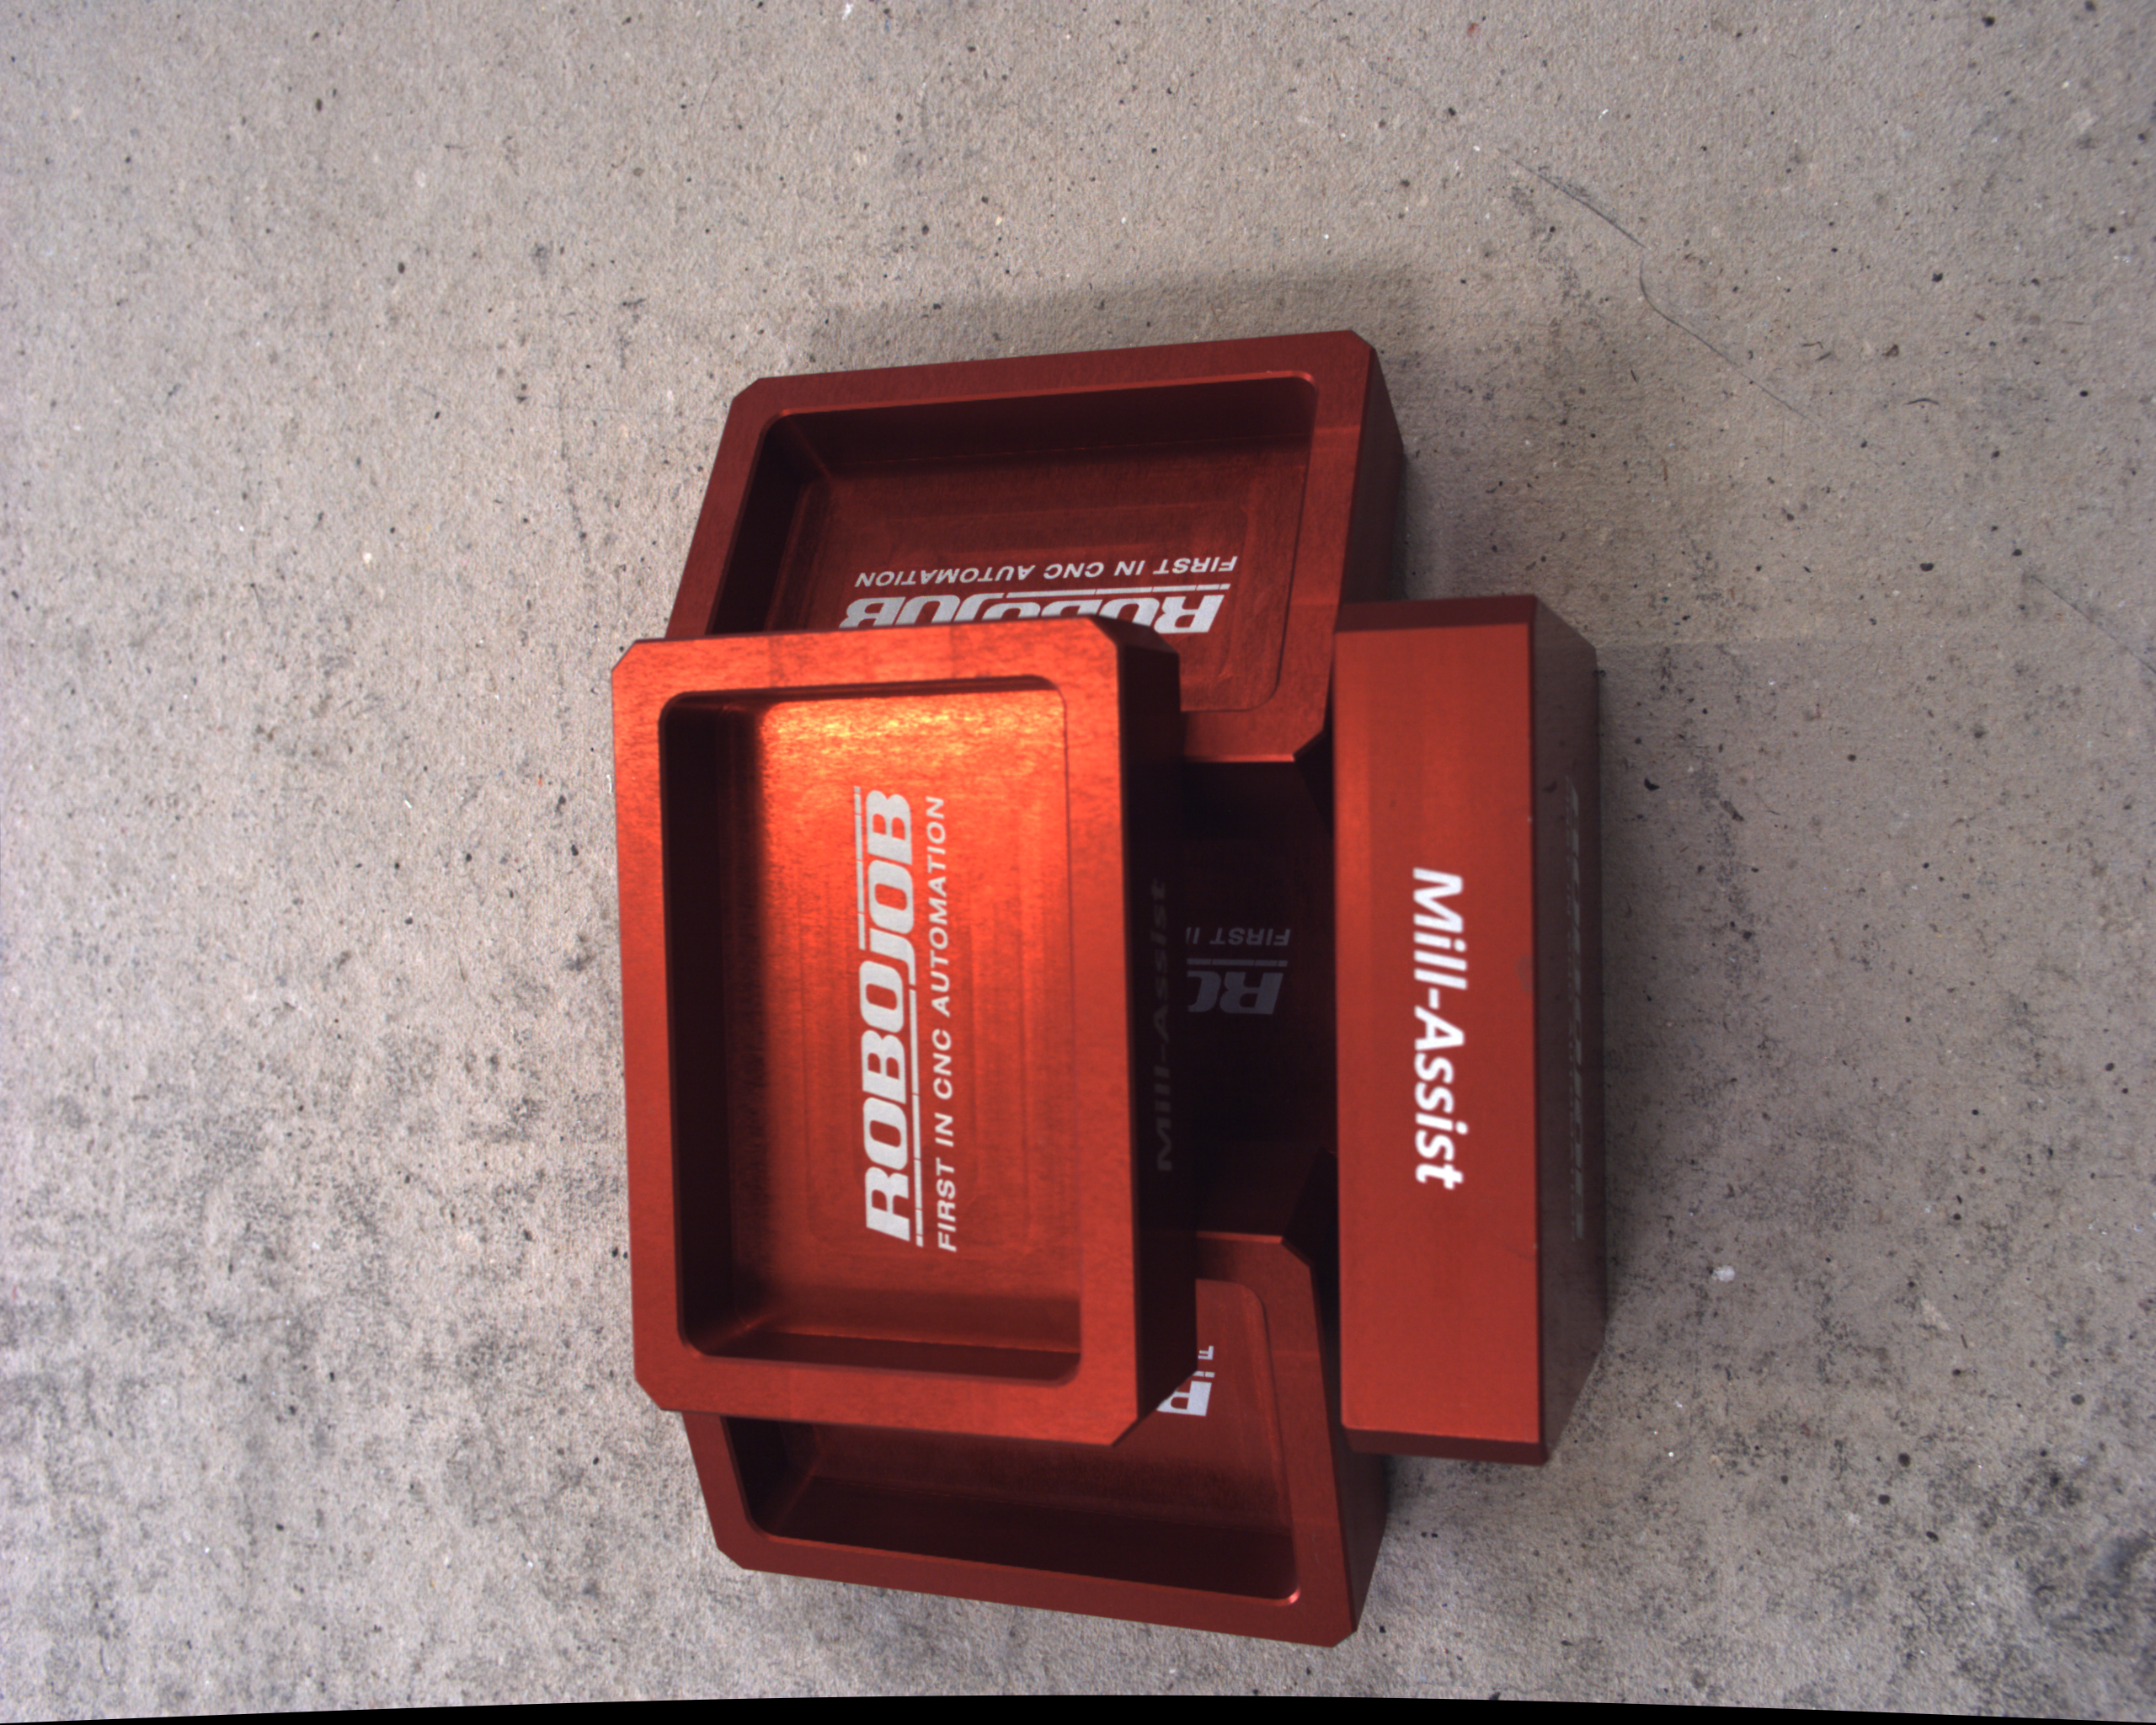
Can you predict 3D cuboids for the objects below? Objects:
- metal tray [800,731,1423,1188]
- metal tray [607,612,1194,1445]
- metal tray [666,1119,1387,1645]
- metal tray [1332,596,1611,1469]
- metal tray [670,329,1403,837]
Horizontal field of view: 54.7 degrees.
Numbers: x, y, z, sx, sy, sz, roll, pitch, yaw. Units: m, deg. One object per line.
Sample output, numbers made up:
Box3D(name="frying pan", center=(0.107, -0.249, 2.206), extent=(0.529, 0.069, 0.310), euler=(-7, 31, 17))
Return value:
Box3D(name="metal tray", center=(0.001, 0.019, 0.405), extent=(0.130, 0.030, 0.089), euler=(-1, 91, 20))
Box3D(name="metal tray", center=(-0.030, 0.026, 0.349), extent=(0.090, 0.030, 0.129), euler=(-1, 92, 20))
Box3D(name="metal tray", center=(-0.012, 0.096, 0.393), extent=(0.130, 0.030, 0.089), euler=(0, 115, 20))
Box3D(name="metal tray", center=(0.069, 0.025, 0.351), extent=(0.030, 0.090, 0.129), euler=(-1, 90, 20))
Box3D(name="metal tray", center=(-0.010, -0.051, 0.392), extent=(0.130, 0.030, 0.090), euler=(0, 63, 19))
